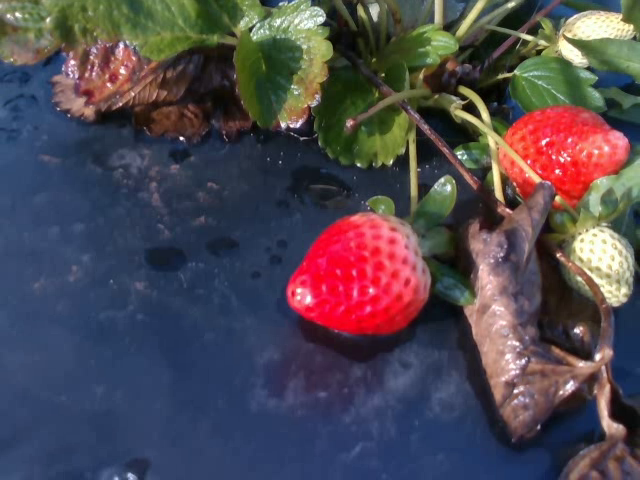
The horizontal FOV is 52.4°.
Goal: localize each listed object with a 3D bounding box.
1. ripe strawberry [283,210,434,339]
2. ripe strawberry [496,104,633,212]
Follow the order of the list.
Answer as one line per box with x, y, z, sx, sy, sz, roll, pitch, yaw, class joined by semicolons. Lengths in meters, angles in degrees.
0.008;0.008;0.156;0.043;0.030;0.035;-25;47;-33;ripe strawberry
0.079;-0.030;0.199;0.039;0.032;0.048;-10;0;-14;ripe strawberry
